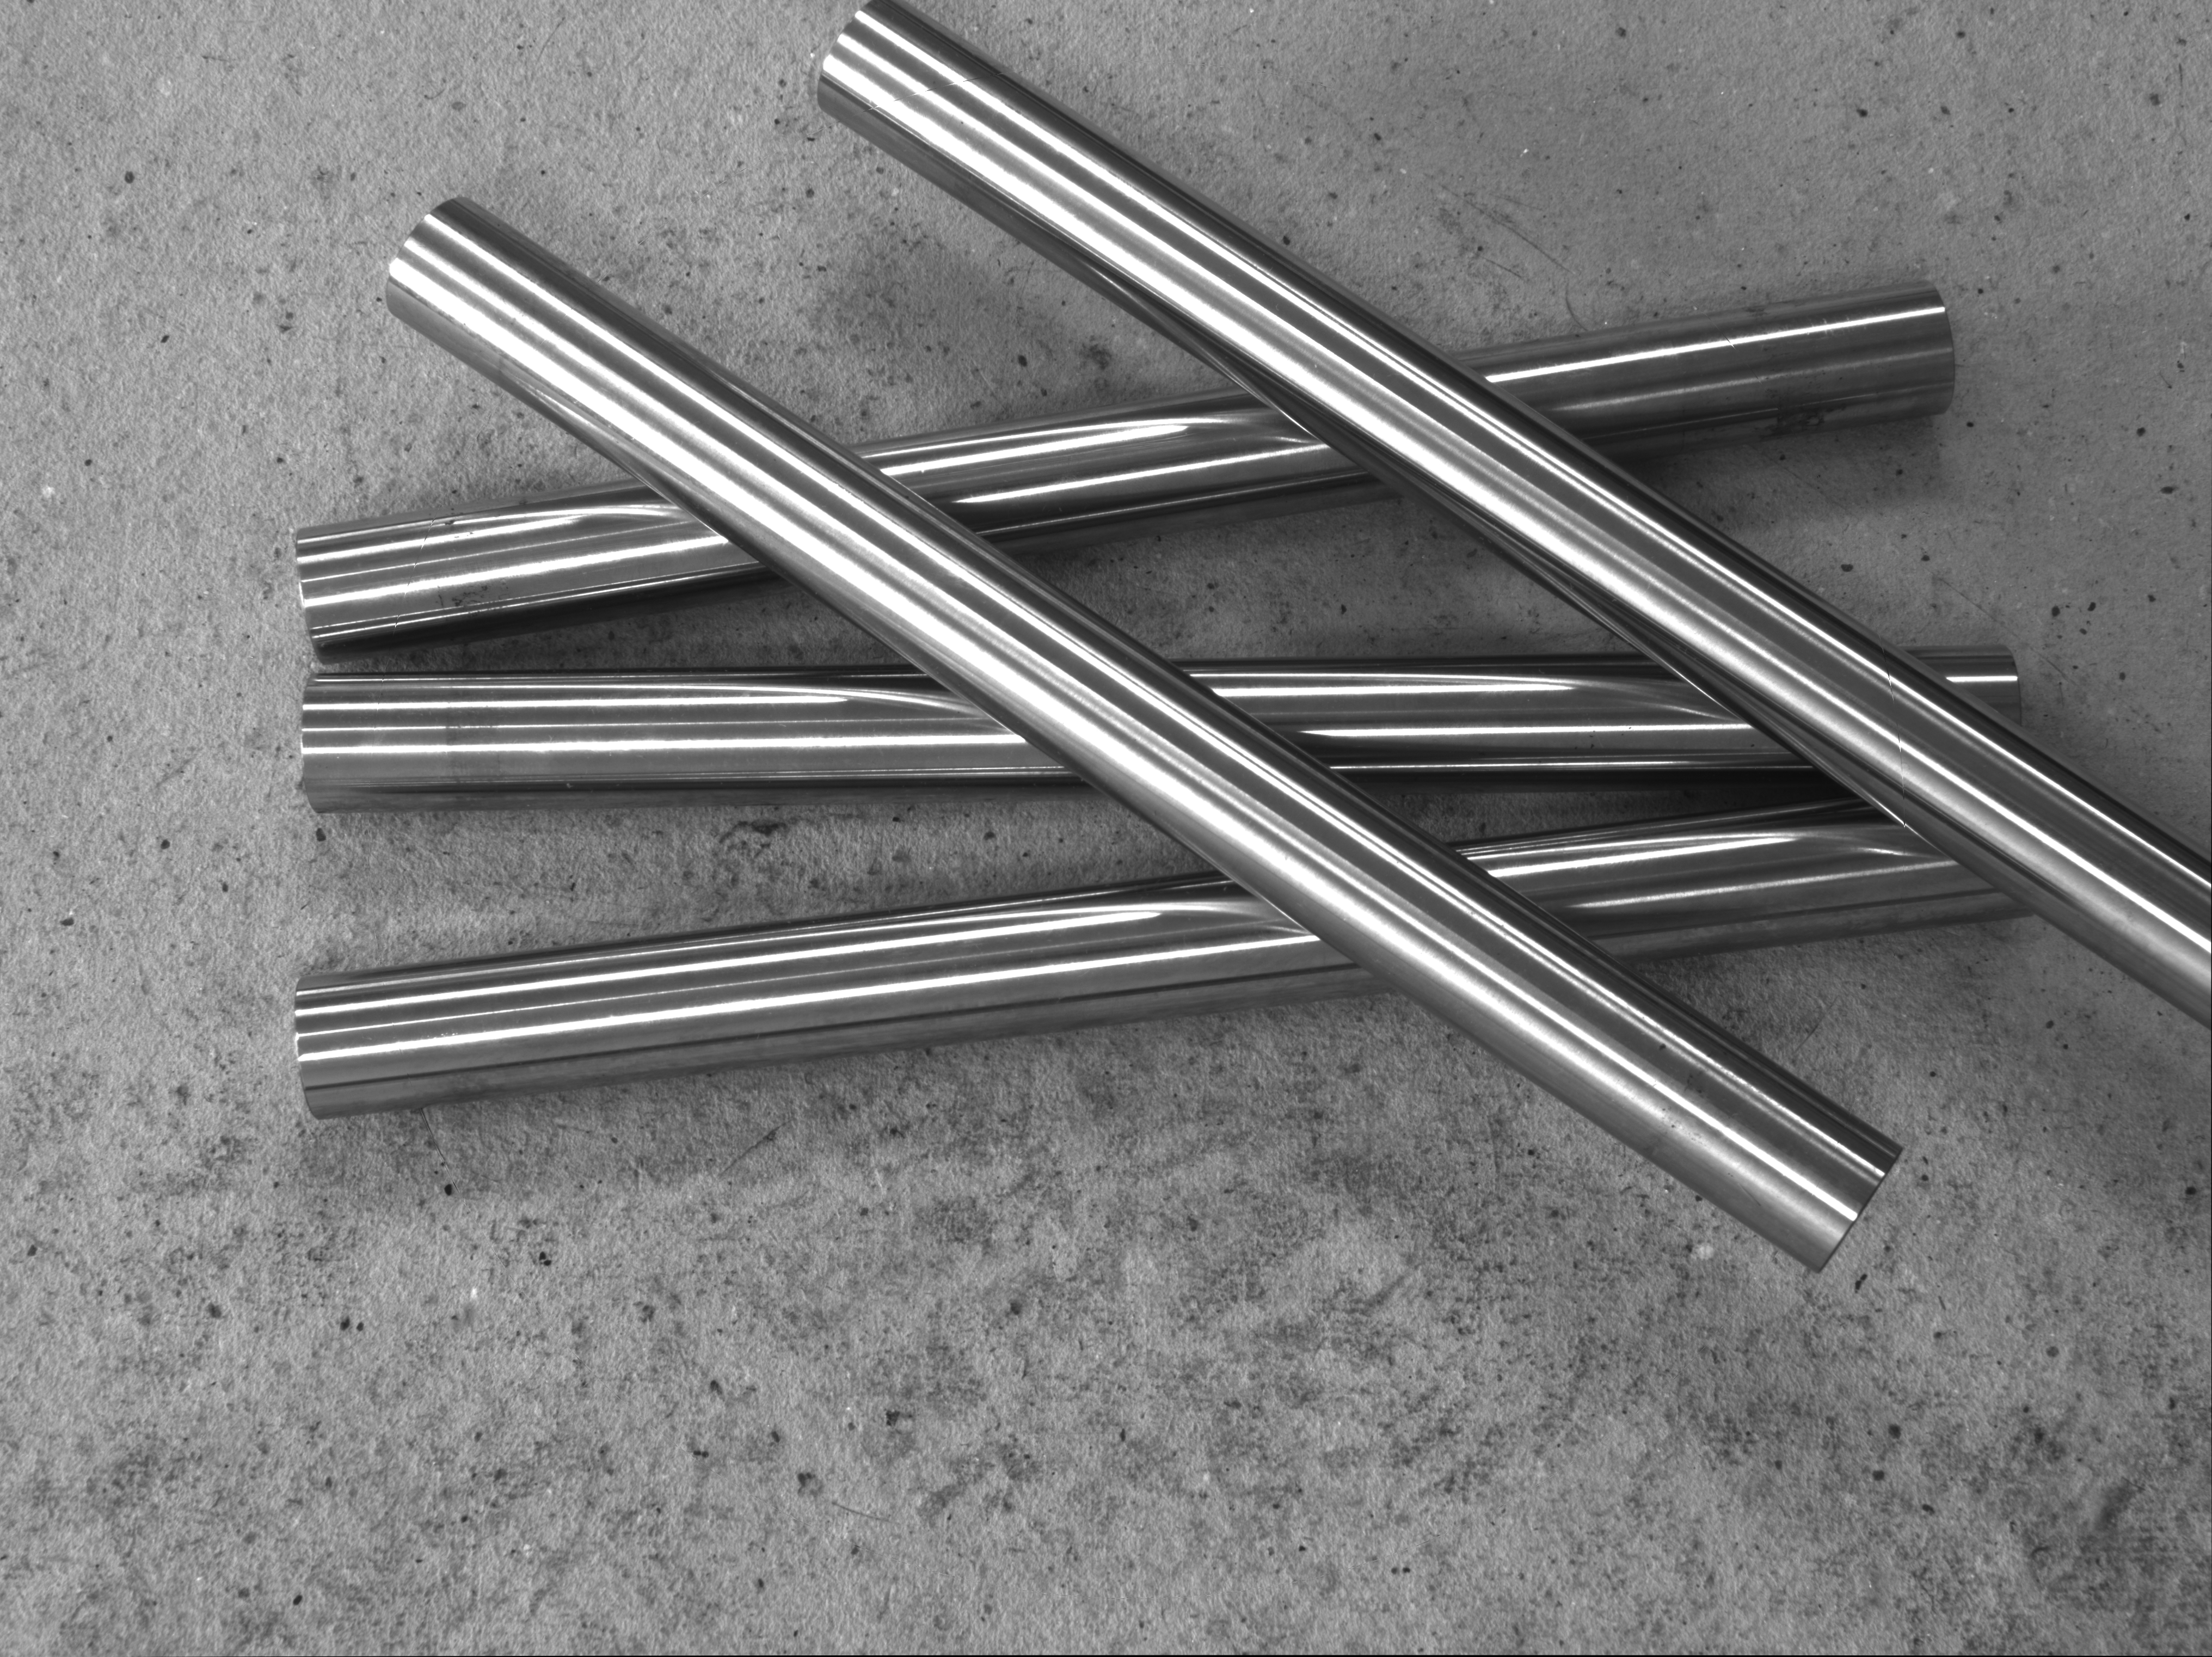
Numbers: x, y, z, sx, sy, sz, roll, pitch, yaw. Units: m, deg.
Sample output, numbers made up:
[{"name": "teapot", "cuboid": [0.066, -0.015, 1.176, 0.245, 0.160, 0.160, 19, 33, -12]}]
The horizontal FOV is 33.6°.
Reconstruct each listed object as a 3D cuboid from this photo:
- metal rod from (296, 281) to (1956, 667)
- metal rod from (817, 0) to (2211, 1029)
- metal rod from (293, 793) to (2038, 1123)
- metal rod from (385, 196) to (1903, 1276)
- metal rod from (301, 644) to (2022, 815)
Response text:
[{"name": "metal rod", "cuboid": [0.005, -0.065, 0.669, 0.300, 0.025, 0.025, -9, 70, -3]}, {"name": "metal rod", "cuboid": [0.075, -0.058, 0.639, 0.300, 0.025, 0.025, 35, 74, 12]}, {"name": "metal rod", "cuboid": [0.012, 0.020, 0.637, 0.300, 0.025, 0.025, -7, 70, -3]}, {"name": "metal rod", "cuboid": [0.001, -0.020, 0.626, 0.300, 0.025, 0.025, 34, 73, 12]}, {"name": "metal rod", "cuboid": [0.010, -0.018, 0.651, 0.300, 0.025, 0.025, -1, 70, 0]}]
